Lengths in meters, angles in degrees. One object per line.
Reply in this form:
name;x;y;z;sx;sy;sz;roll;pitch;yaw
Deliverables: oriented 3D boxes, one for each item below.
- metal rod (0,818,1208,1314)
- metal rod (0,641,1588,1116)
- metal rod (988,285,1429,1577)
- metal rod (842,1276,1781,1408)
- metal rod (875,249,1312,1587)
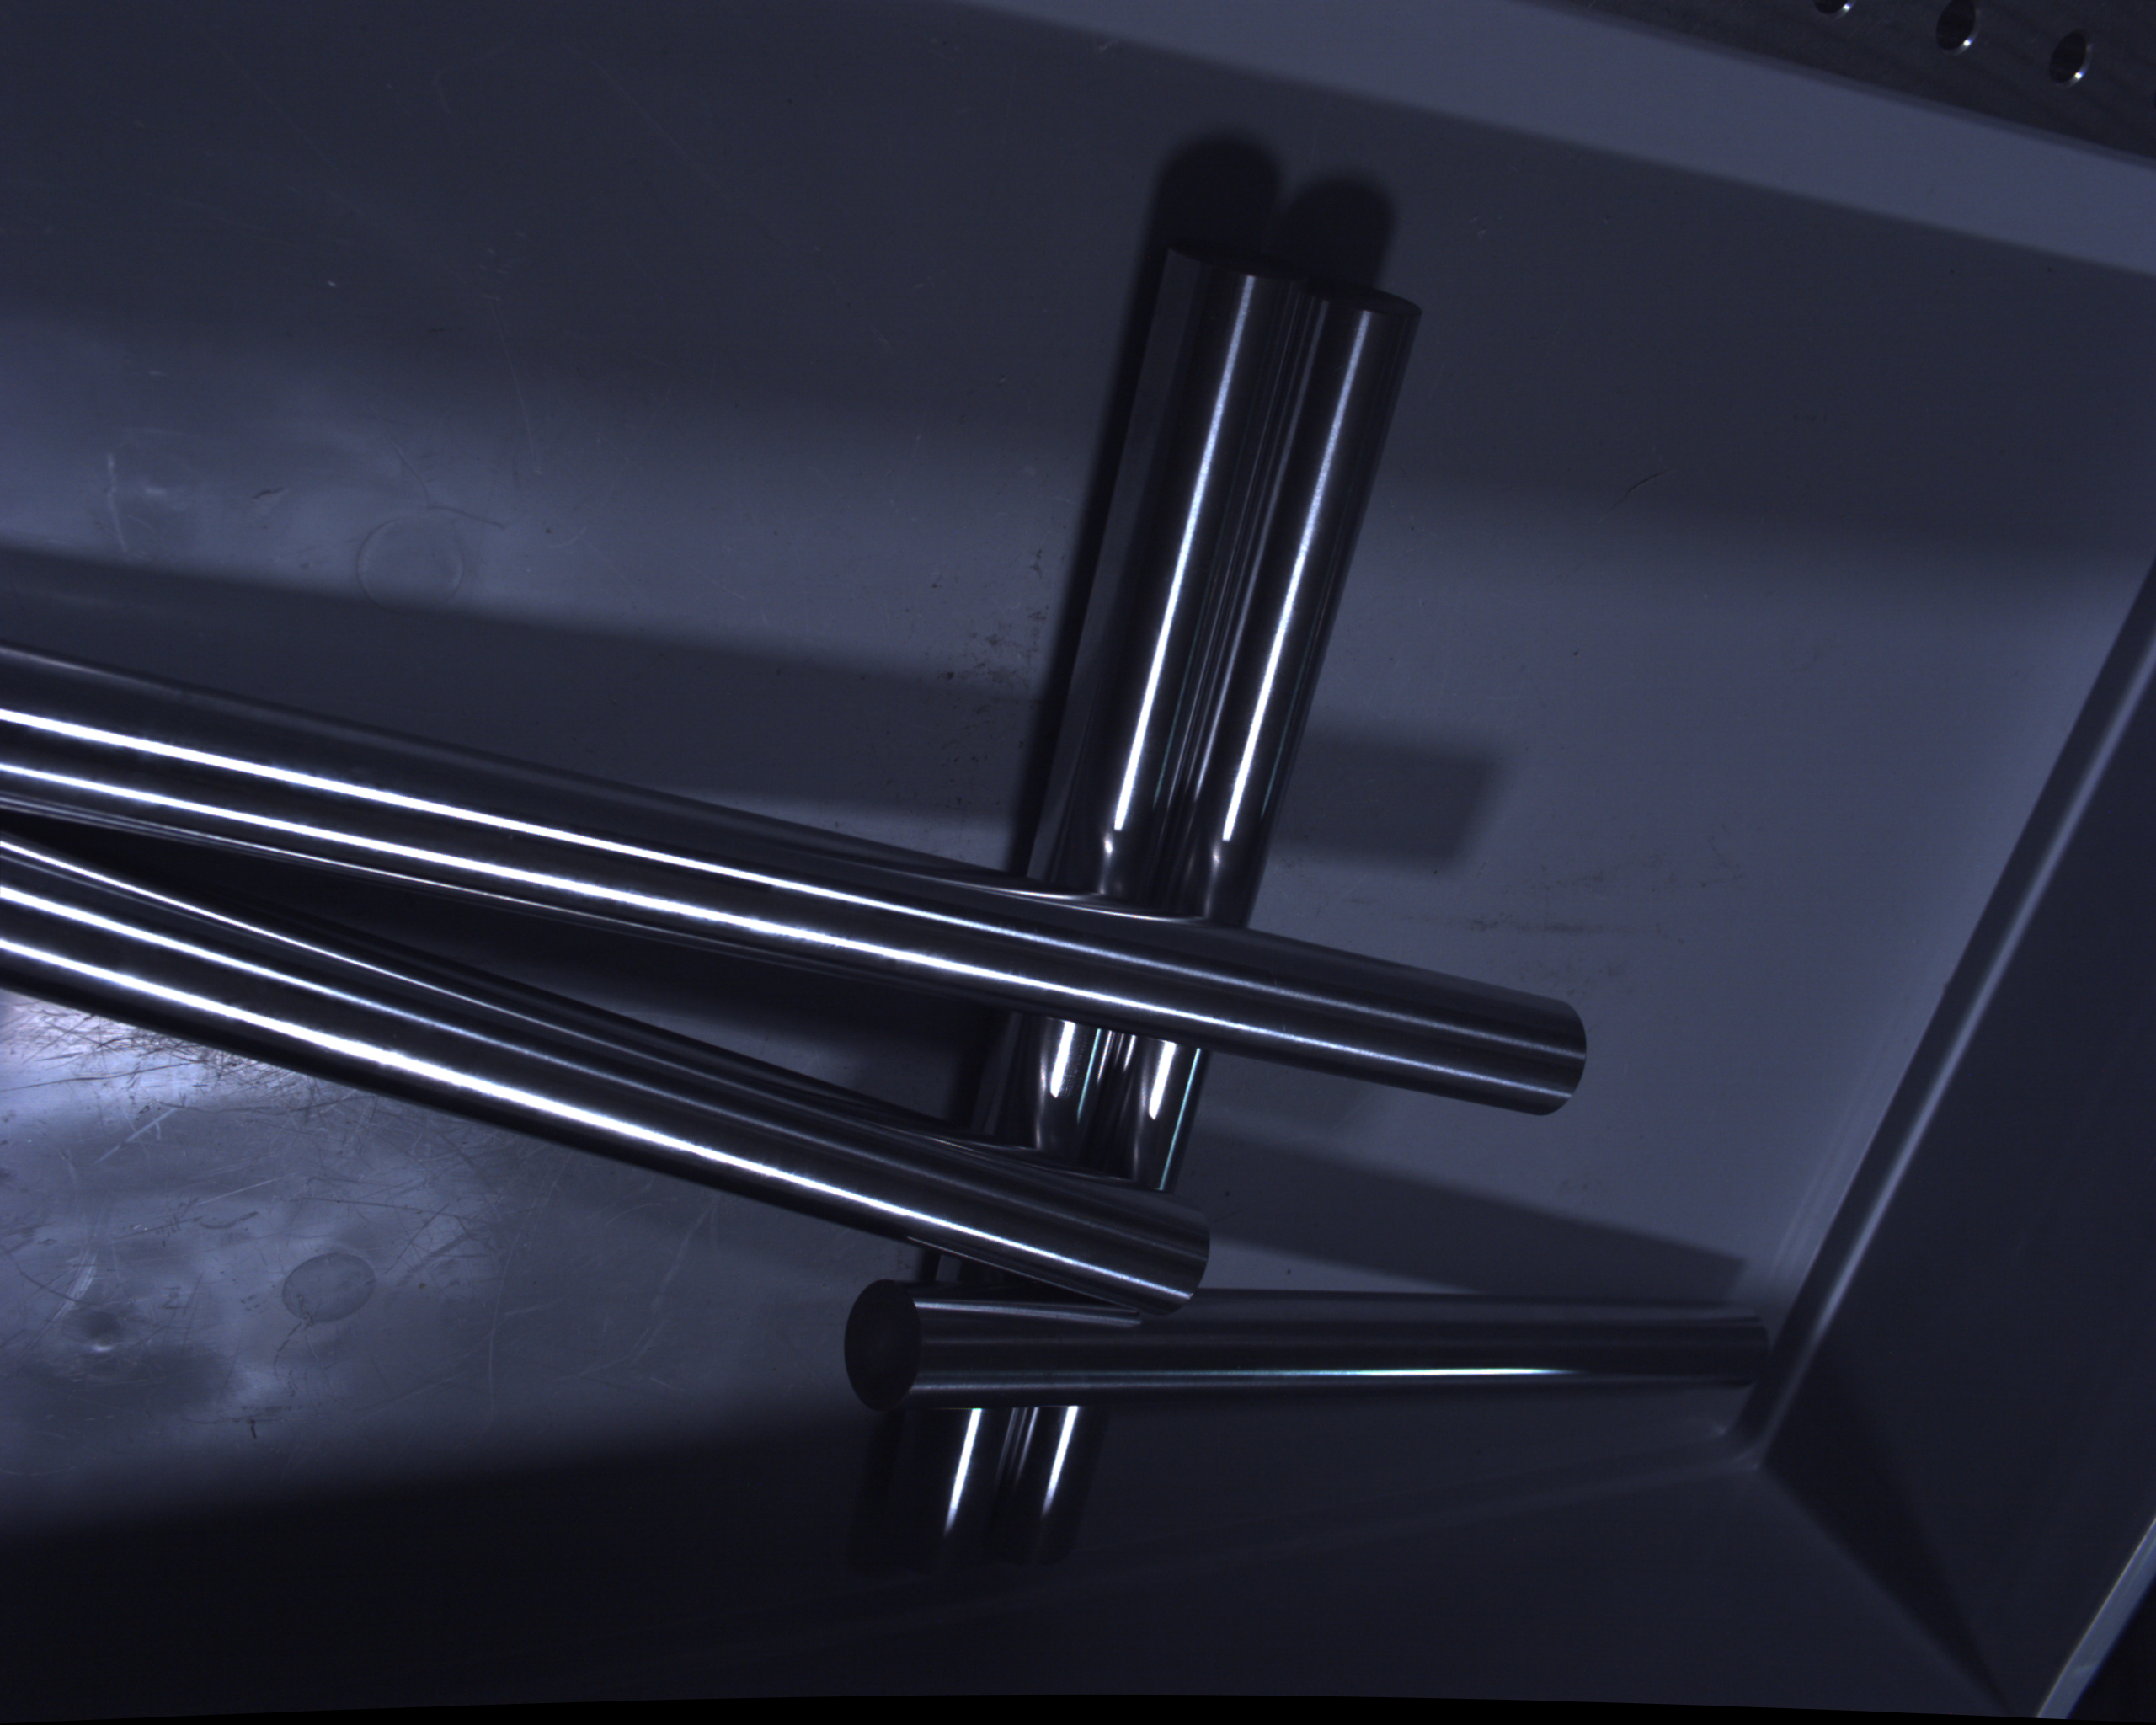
metal rod;-0.100;0.032;0.356;0.302;0.025;0.025;23;106;-31
metal rod;-0.033;0.010;0.371;0.302;0.025;0.025;13;112;-27
metal rod;0.019;0.031;0.436;0.025;0.025;0.298;-1;119;-28
metal rod;0.076;0.116;0.500;0.302;0.025;0.025;12;113;-40
metal rod;-0.004;0.029;0.422;0.025;0.025;0.298;-1;119;-28
